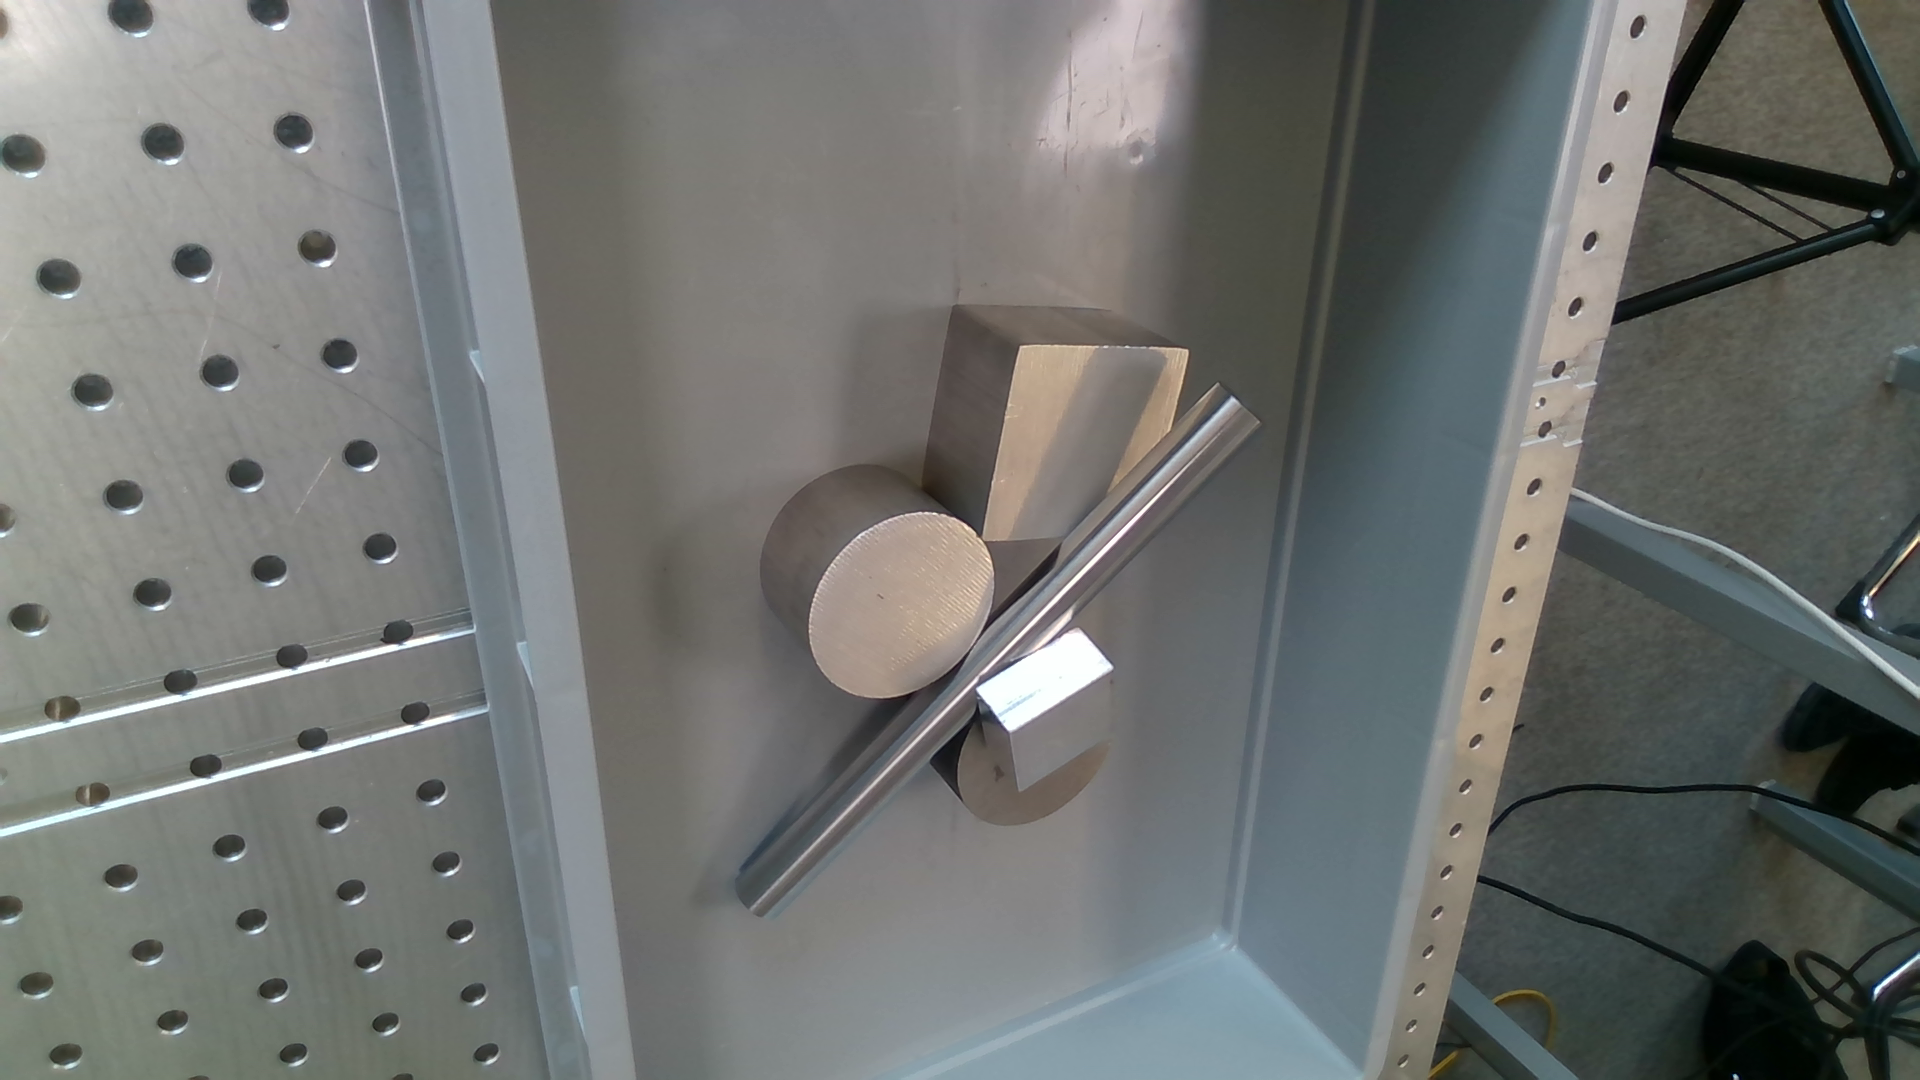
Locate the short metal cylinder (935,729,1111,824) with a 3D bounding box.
[{"bbox_3d":[0.022,0.080,0.621,0.080,0.050,0.080,-14,122,-25],"label":"short metal cylinder"}]

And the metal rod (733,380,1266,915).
[{"bbox_3d":[0.009,0.052,0.568,0.025,0.025,0.300,30,111,-39],"label":"metal rod"}]

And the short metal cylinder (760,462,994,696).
[{"bbox_3d":[-0.033,0.015,0.551,0.080,0.050,0.080,-14,122,-25],"label":"short metal cylinder"}]

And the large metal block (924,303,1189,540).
[{"bbox_3d":[0.037,-0.049,0.558,0.080,0.050,0.080,-4,117,-30],"label":"large metal block"}]

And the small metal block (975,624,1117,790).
[{"bbox_3d":[0.036,0.069,0.566,0.050,0.025,0.050,-31,145,-15],"label":"small metal block"}]
